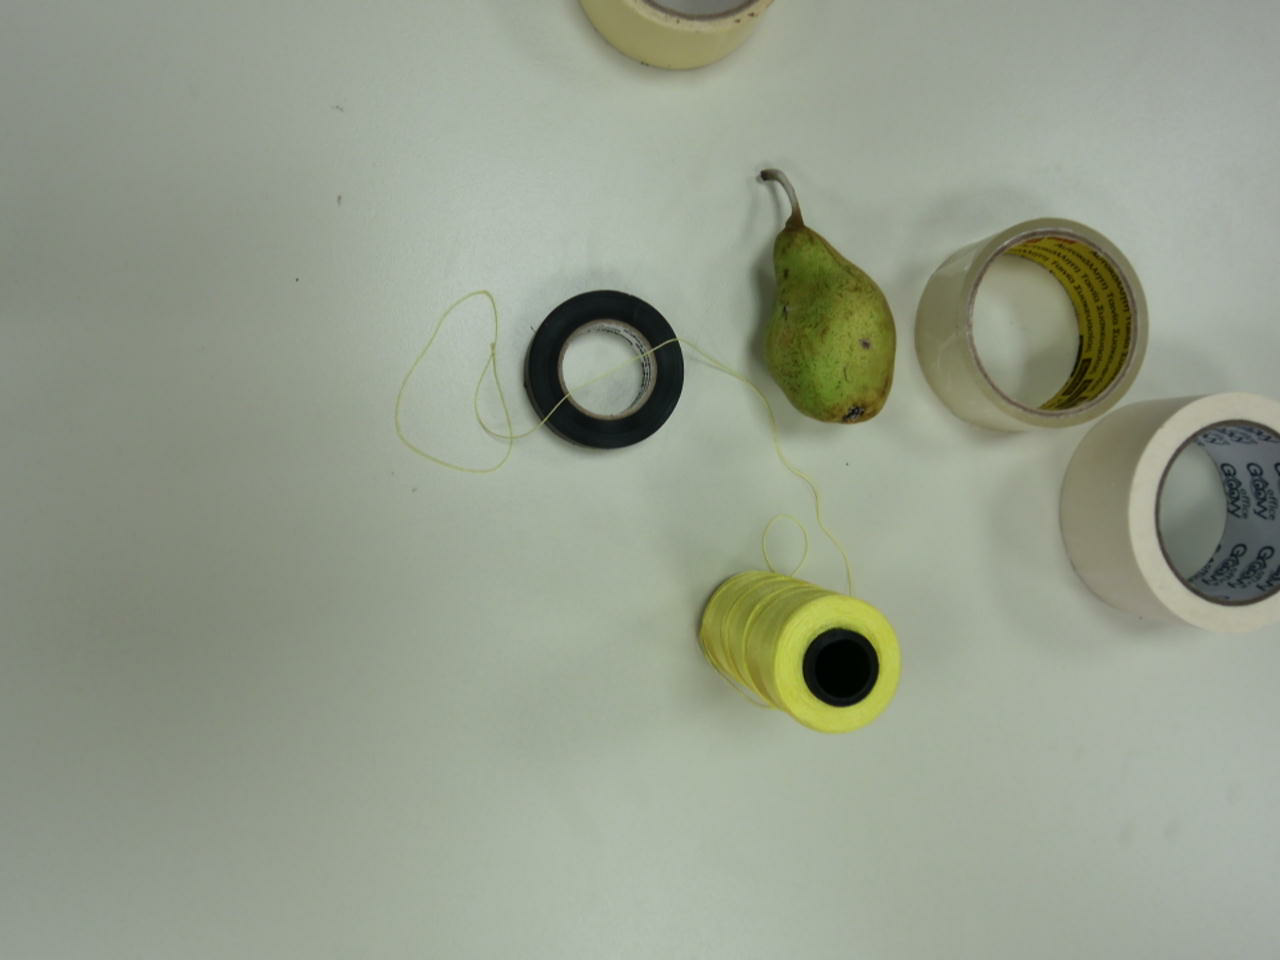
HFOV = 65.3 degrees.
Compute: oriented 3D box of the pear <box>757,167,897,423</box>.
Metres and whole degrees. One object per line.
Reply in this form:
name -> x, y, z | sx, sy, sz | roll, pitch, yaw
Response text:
pear -> 0.082, -0.079, 0.422 | 0.056, 0.056, 0.111 | 5, 89, -11
